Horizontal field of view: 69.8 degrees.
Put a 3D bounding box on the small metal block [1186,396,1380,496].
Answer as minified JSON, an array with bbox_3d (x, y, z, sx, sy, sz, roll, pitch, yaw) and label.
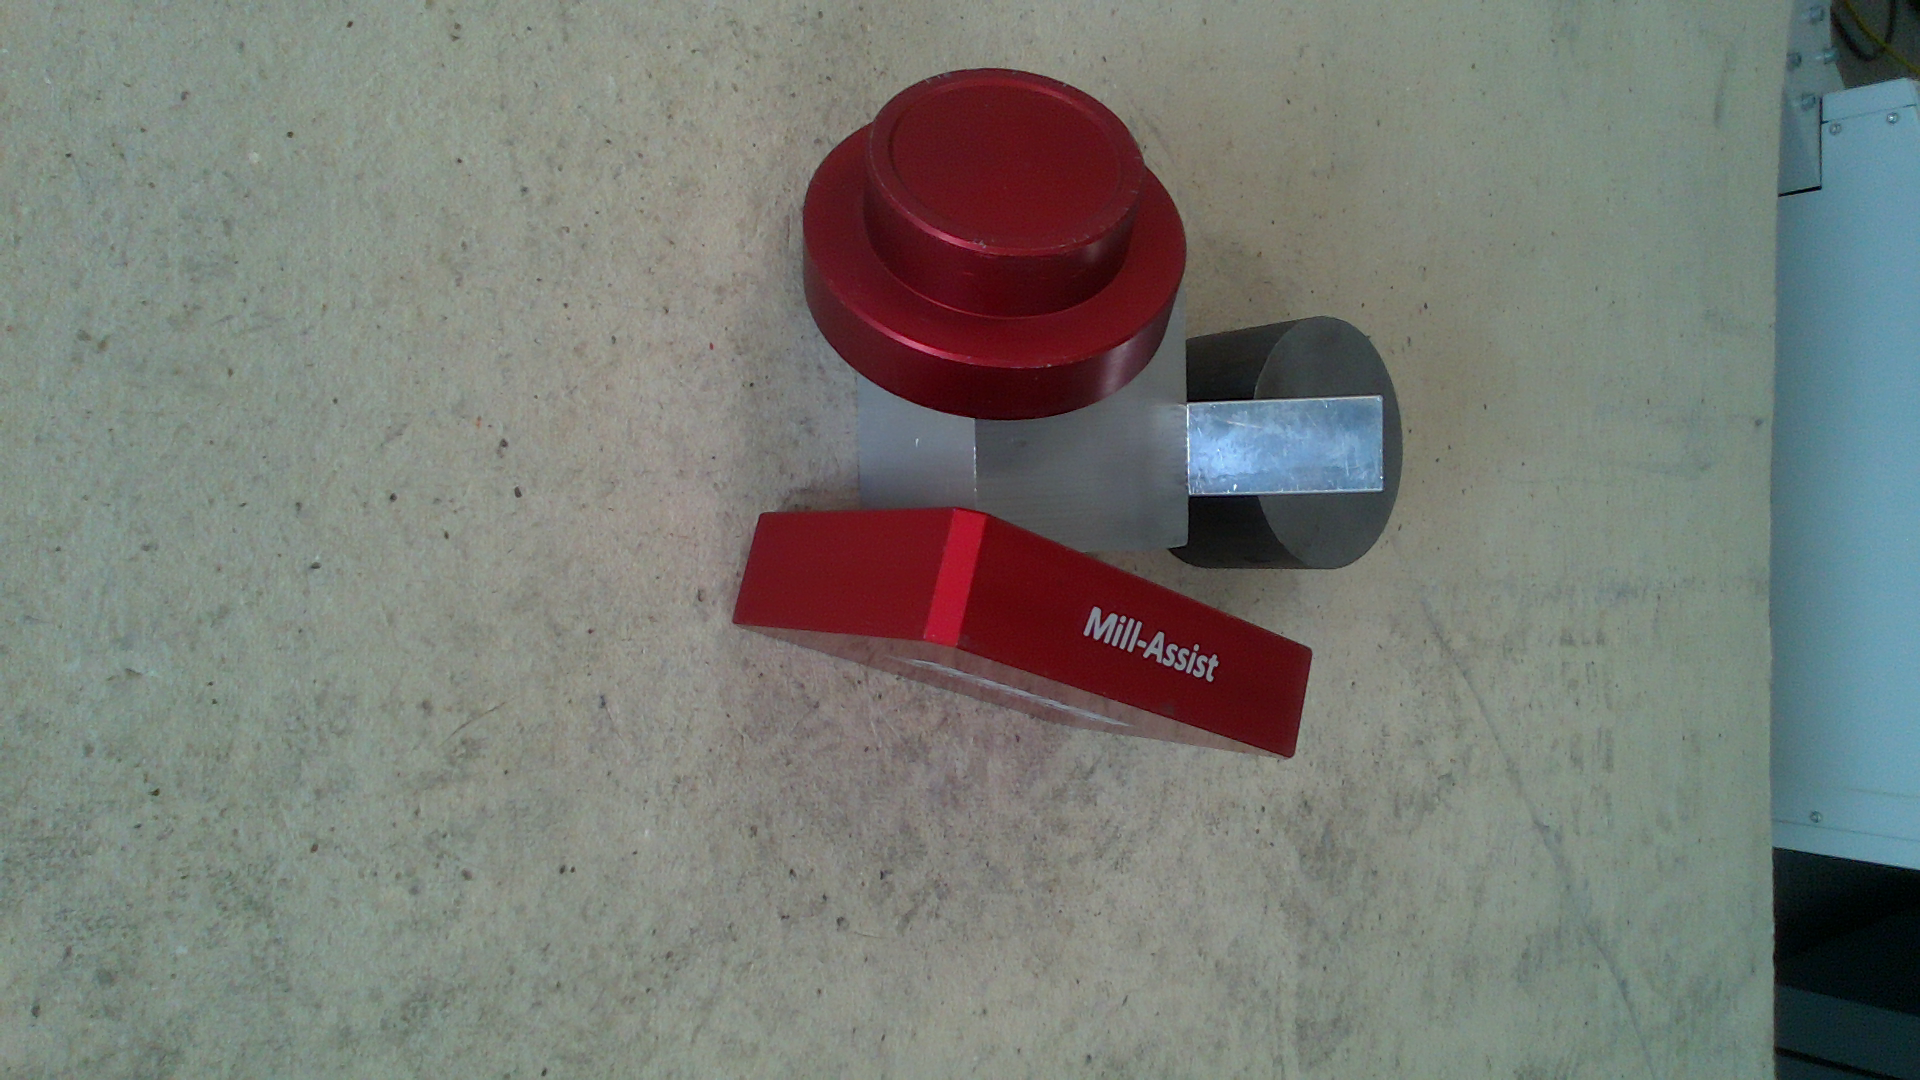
[{"bbox_3d":[0.089,-0.027,0.388,0.050,0.050,0.025,-28,116,-80],"label":"small metal block"}]

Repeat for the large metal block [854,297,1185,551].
[{"bbox_3d":[0.017,-0.037,0.389,0.080,0.050,0.080,-2,91,-40],"label":"large metal block"}]

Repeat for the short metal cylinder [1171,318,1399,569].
[{"bbox_3d":[0.102,-0.031,0.459,0.080,0.050,0.080,0,90,-40],"label":"short metal cylinder"}]

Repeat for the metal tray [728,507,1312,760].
[{"bbox_3d":[0.018,0.026,0.361,0.130,0.090,0.030,22,77,-38],"label":"metal tray"}]

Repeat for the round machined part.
[{"bbox_3d":[0.009,-0.081,0.348,0.098,0.098,0.042,-44,161,-31],"label":"round machined part"}]
